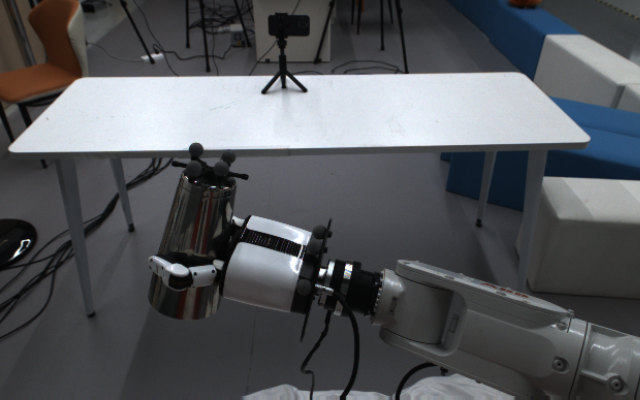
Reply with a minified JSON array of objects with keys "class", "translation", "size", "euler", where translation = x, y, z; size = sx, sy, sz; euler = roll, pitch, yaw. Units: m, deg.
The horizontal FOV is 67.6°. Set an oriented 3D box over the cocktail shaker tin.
[{"class":"cocktail shaker tin","translation":[-0.151,0.050,0.596],"size":[0.093,0.170,0.093],"euler":[15,20,-5]}]
